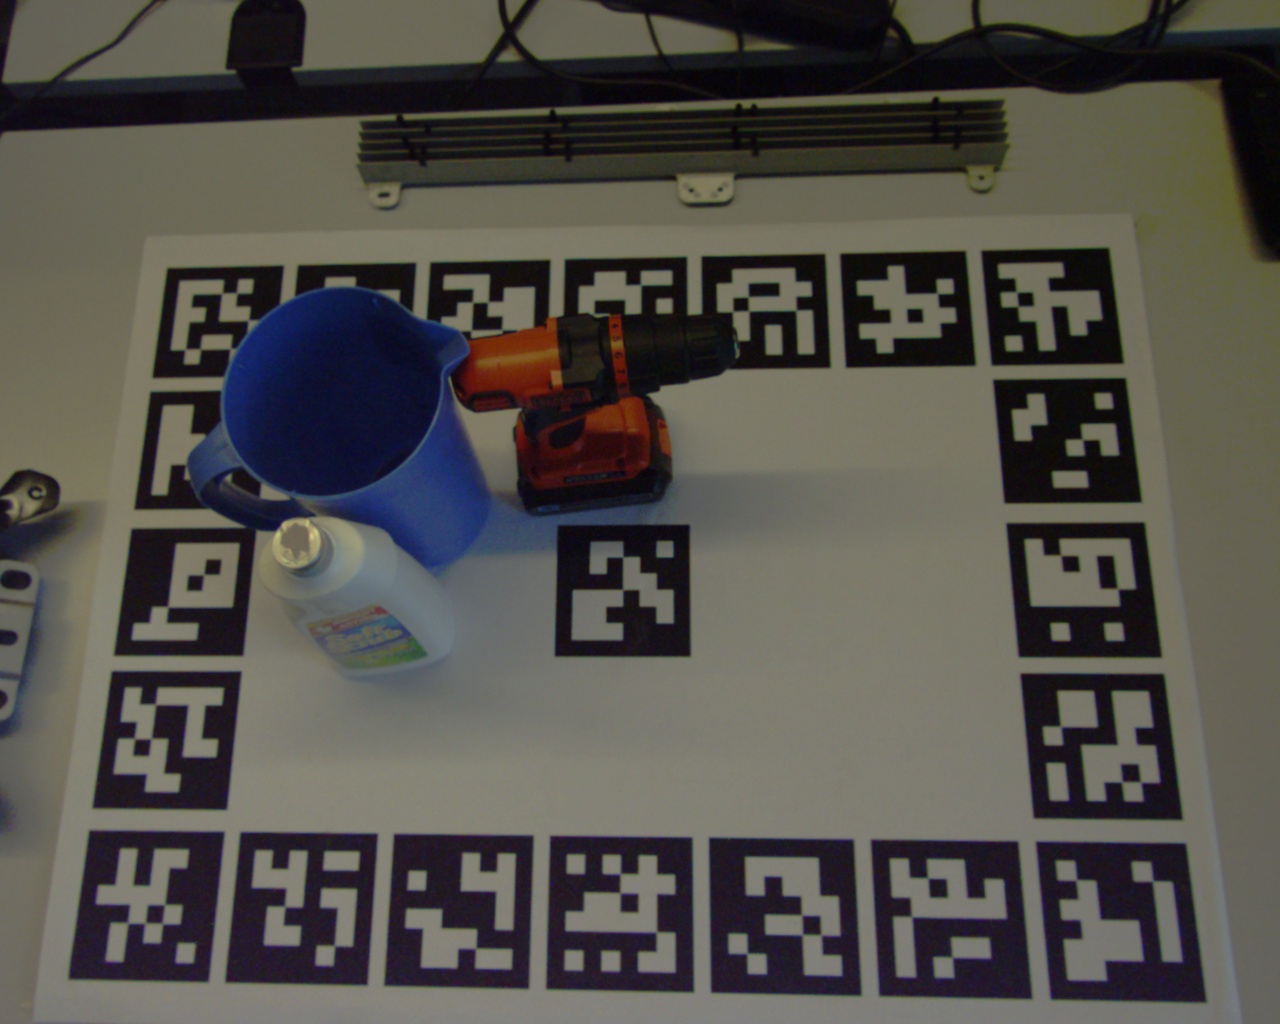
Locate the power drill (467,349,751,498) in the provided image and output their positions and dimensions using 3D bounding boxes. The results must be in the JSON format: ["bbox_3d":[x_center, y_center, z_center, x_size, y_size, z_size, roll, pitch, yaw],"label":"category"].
[{"bbox_3d":[-0.024,-0.062,0.804,0.184,0.187,0.057,-6,78,-4],"label":"power drill"}]

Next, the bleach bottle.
[{"bbox_3d":[-0.201,0.052,0.754,0.103,0.250,0.068,-9,75,1],"label":"bleach bottle"}]

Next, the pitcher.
[{"bbox_3d":[-0.191,-0.041,0.800,0.188,0.242,0.134,-28,77,-4],"label":"pitcher"}]
